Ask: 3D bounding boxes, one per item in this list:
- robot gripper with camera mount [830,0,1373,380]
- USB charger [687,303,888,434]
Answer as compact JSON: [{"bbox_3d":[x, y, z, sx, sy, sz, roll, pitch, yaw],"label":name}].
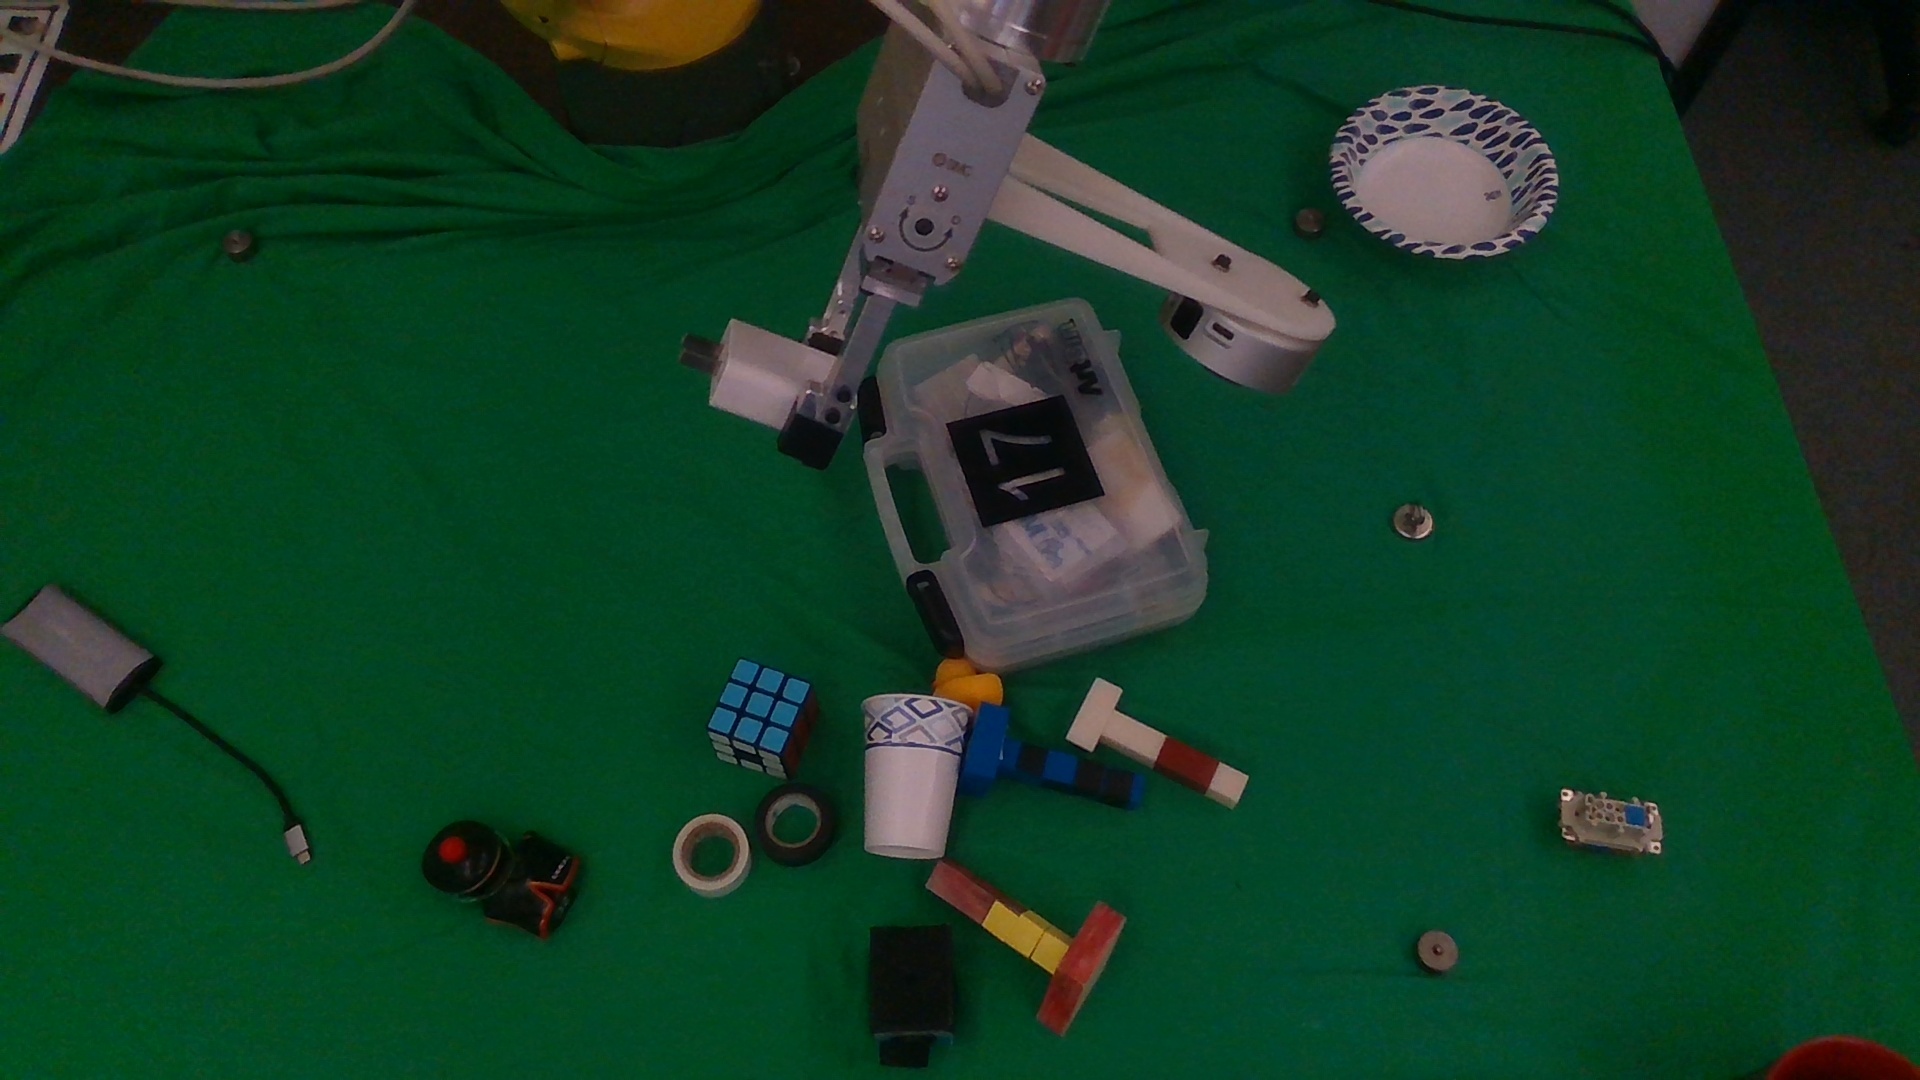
[{"bbox_3d":[0.052,-0.104,0.535,0.193,0.159,0.119,15,33,-17],"label":"robot gripper with camera mount"},{"bbox_3d":[-0.067,-0.069,0.531,0.075,0.029,0.045,15,34,-18],"label":"USB charger"}]
